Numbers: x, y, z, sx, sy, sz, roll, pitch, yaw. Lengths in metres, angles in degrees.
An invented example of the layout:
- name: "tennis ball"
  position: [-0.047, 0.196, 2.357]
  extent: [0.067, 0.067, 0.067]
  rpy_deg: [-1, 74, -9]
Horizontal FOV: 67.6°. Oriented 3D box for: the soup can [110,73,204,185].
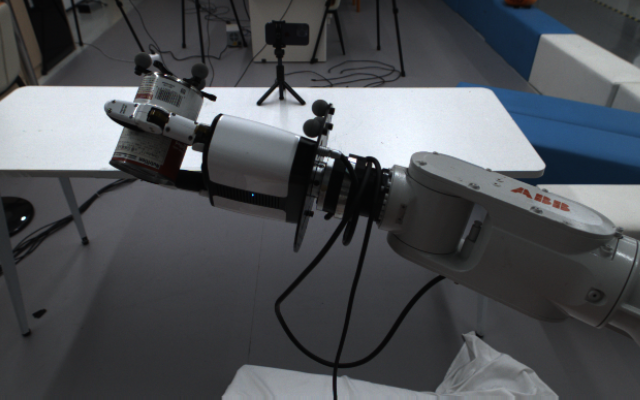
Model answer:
- name: "soup can"
  position: [-0.170, -0.074, 0.513]
  extent: [0.067, 0.067, 0.101]
  rpy_deg: [13, 78, 16]
